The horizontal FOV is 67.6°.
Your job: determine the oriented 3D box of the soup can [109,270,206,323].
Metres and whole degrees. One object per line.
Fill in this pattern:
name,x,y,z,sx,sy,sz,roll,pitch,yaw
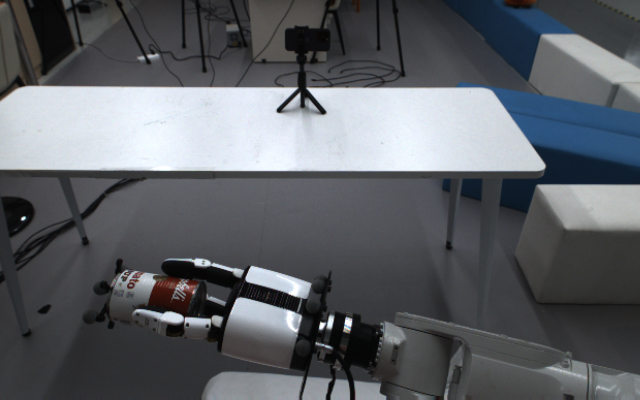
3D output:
soup can,-0.198,0.128,0.601,0.101,0.067,0.067,9,35,2
